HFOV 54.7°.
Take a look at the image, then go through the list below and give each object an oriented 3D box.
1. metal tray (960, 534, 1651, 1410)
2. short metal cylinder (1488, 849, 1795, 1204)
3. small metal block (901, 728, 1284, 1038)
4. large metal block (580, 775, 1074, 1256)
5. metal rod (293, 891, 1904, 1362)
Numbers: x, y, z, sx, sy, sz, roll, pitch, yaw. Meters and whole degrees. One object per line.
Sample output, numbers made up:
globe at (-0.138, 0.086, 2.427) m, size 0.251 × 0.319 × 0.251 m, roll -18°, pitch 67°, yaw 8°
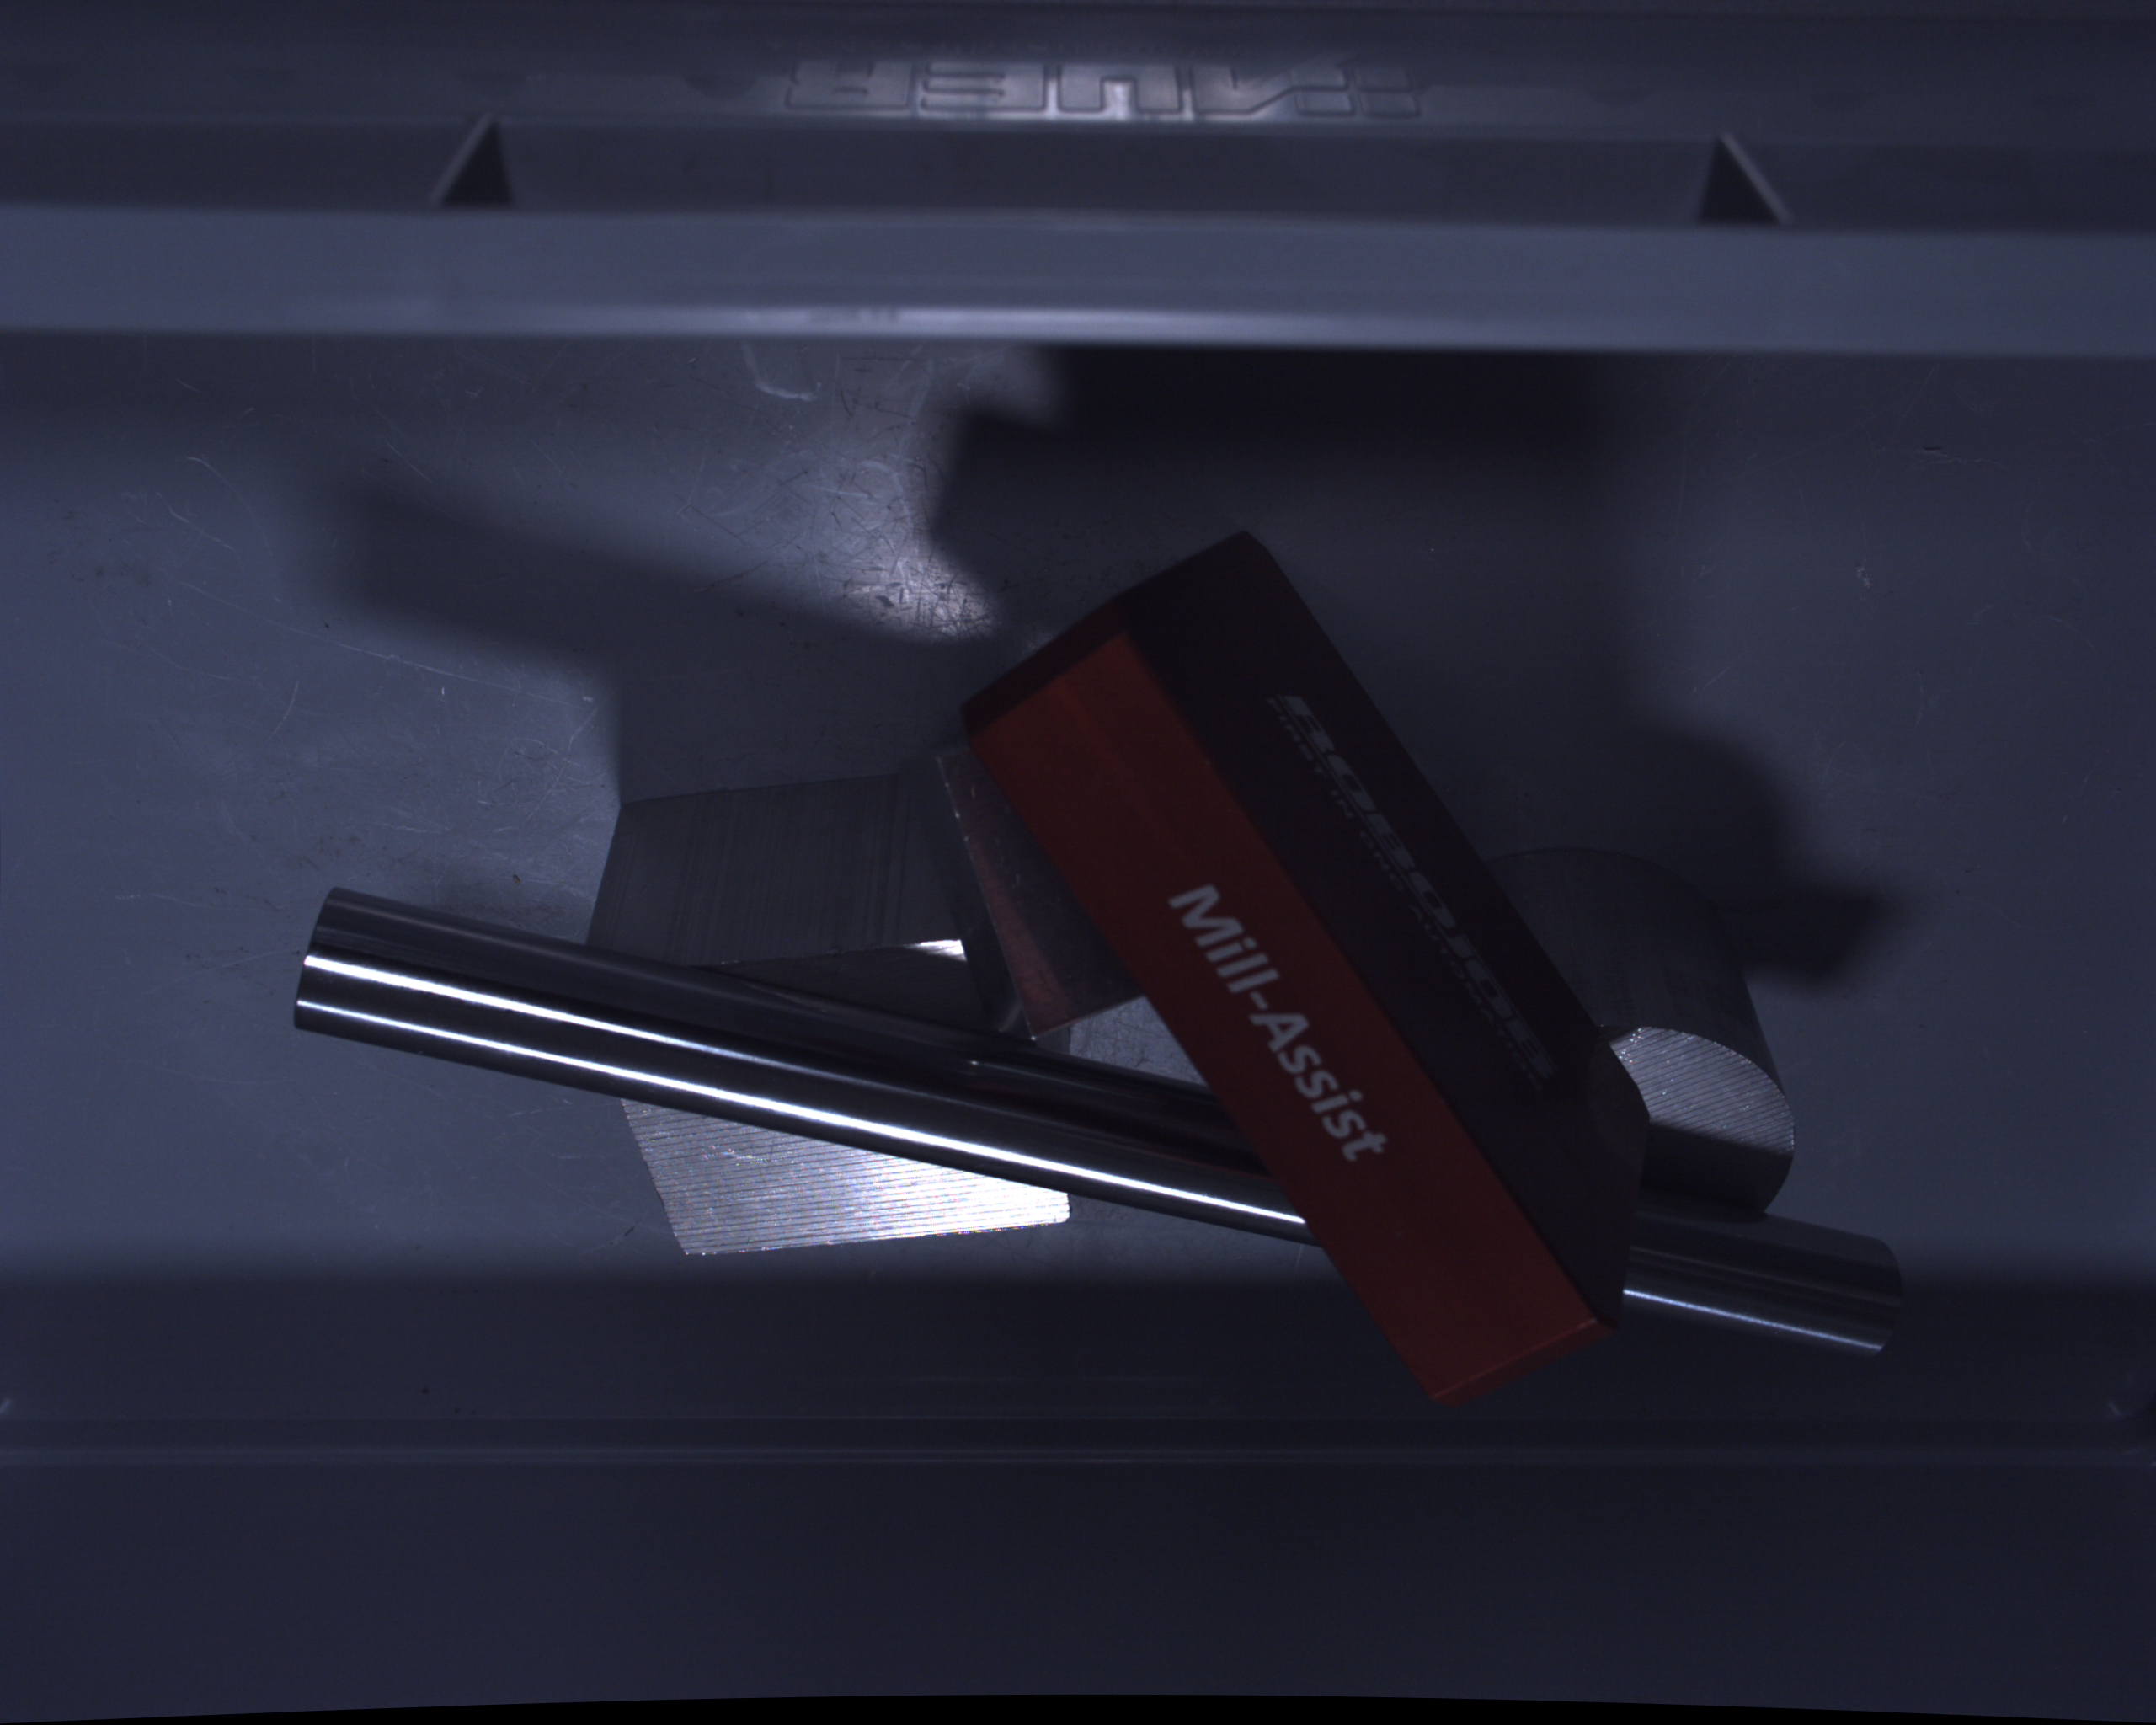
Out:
metal tray at (0.043, 0.012, 0.343) m, size 0.030 × 0.090 × 0.130 m, roll -34°, pitch 93°, yaw 24°
short metal cylinder at (0.100, 0.044, 0.430) m, size 0.081 × 0.050 × 0.079 m, roll 0°, pitch 130°, yaw 0°
small metal block at (0.003, -0.003, 0.361) m, size 0.050 × 0.025 × 0.050 m, roll -20°, pitch 97°, yaw -18°
large metal block at (-0.046, 0.030, 0.416) m, size 0.080 × 0.050 × 0.080 m, roll -6°, pitch 130°, yaw 4°
metal rod at (0.014, 0.052, 0.385) m, size 0.302 × 0.025 × 0.025 m, roll 14°, pitch 129°, yaw -12°
